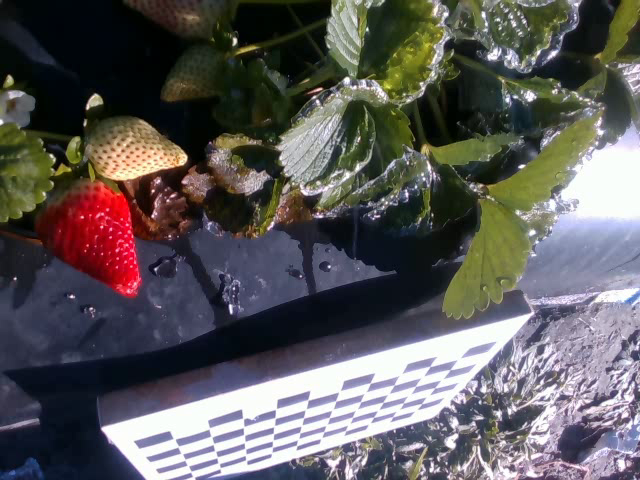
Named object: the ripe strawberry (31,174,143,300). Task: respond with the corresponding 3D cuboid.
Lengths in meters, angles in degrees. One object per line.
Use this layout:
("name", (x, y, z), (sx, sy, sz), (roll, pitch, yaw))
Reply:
("ripe strawberry", (-0.088, 0.002, 0.245), (0.040, 0.053, 0.042), (-33, -4, 17))
